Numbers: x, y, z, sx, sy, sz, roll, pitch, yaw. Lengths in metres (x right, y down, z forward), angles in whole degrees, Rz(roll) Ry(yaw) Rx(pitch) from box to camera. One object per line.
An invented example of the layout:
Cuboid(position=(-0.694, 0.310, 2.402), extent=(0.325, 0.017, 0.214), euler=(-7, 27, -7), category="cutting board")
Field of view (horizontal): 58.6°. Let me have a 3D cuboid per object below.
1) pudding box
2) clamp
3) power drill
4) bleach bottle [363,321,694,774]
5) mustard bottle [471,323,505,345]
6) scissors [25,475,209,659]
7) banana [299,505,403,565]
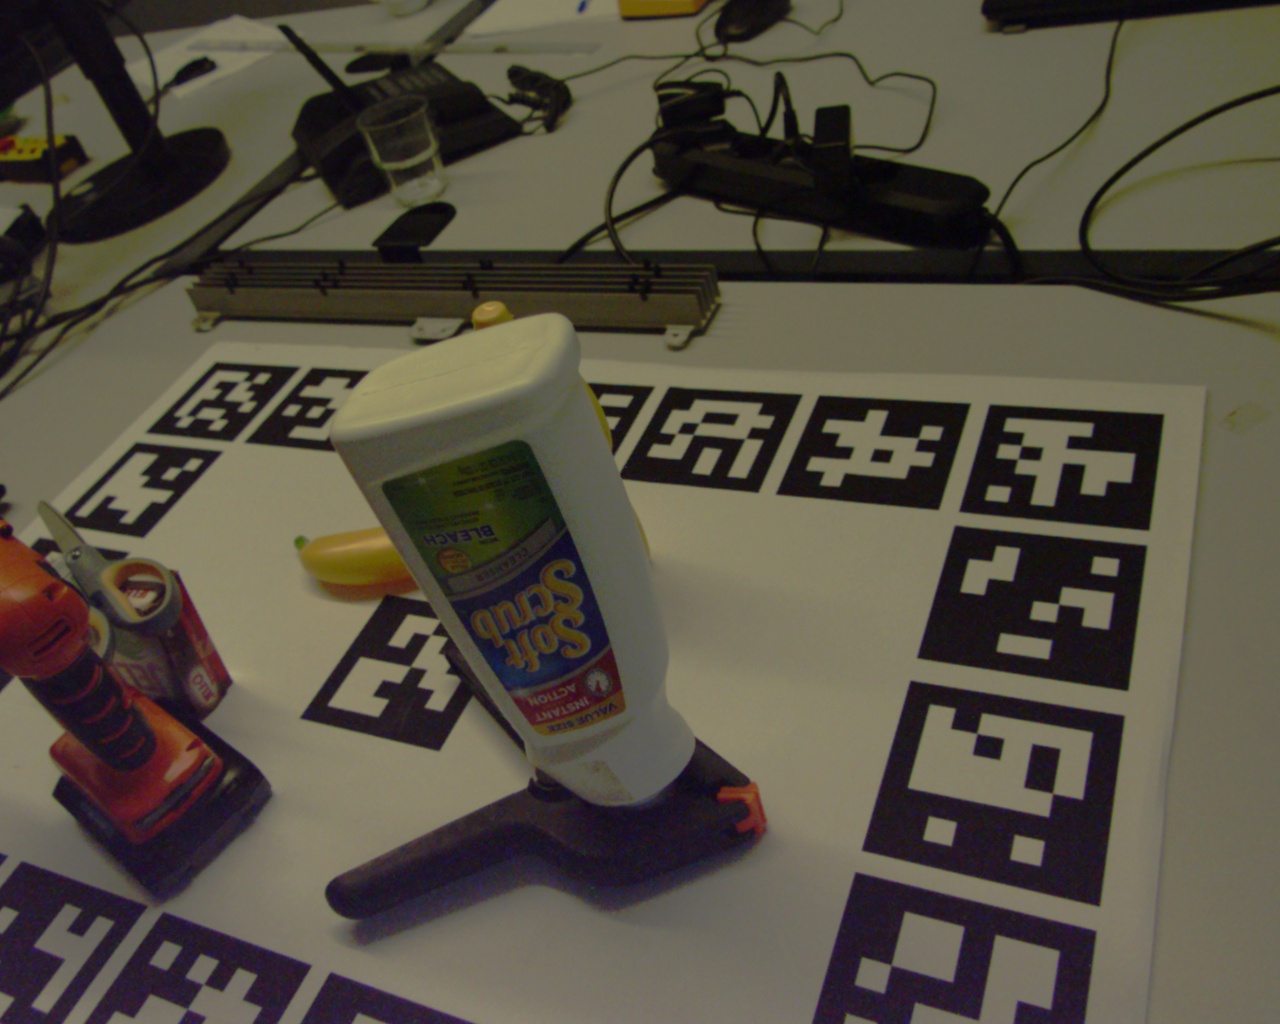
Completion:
Cuboid(position=(-0.324, 0.074, 0.739), extent=(0.115, 0.089, 0.038), euler=(9, 40, 27), category="pudding box")
Cuboid(position=(-0.041, 0.124, 0.599), extent=(0.205, 0.036, 0.165), euler=(1, 46, 19), category="clamp")
Cuboid(position=(-0.318, 0.081, 0.611), extent=(0.187, 0.186, 0.057), euler=(15, 43, 36), category="power drill")
Cuboid(position=(-0.027, 0.040, 0.527), extent=(0.103, 0.248, 0.068), euler=(-13, 36, 16), category="bleach bottle")
Cuboid(position=(-0.066, -0.031, 0.692), extent=(0.097, 0.190, 0.058), euler=(18, 51, 33), category="mustard bottle")
Cuboid(position=(-0.344, 0.022, 0.706), extent=(0.087, 0.016, 0.205), euler=(-43, 51, -20), category="scissors")
Cuboid(position=(-0.144, -0.004, 0.790), extent=(0.197, 0.038, 0.075), euler=(-22, 24, -4), category="banana")
